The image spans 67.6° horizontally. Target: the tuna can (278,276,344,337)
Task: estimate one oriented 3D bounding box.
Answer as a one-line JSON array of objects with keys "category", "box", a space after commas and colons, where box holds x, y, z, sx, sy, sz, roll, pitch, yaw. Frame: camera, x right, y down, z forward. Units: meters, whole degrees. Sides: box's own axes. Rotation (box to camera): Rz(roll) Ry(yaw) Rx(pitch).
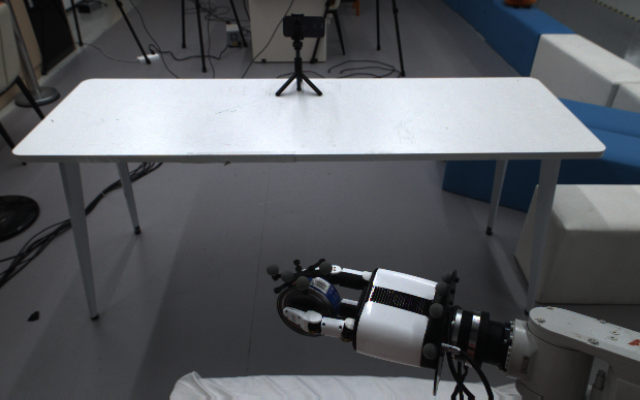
[{"category": "tuna can", "box": [-0.012, 0.150, 0.668, 0.085, 0.085, 0.034, 13, 28, 15]}]
